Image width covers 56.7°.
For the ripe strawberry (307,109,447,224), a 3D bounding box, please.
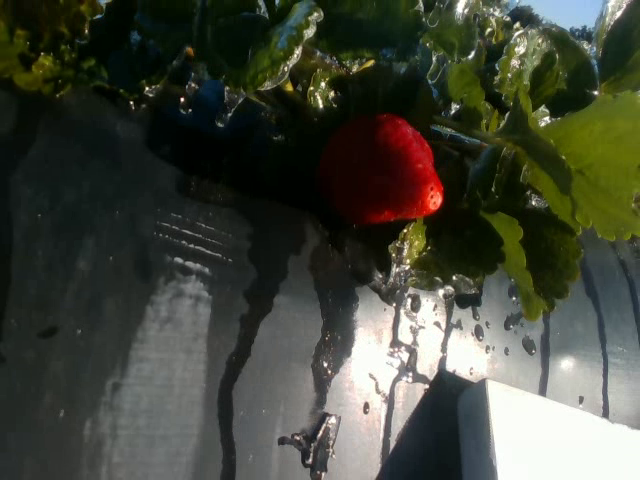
[{"bbox_3d":[0.023,-0.019,0.186,0.041,0.047,0.053,16,12,-21],"label":"ripe strawberry"}]
